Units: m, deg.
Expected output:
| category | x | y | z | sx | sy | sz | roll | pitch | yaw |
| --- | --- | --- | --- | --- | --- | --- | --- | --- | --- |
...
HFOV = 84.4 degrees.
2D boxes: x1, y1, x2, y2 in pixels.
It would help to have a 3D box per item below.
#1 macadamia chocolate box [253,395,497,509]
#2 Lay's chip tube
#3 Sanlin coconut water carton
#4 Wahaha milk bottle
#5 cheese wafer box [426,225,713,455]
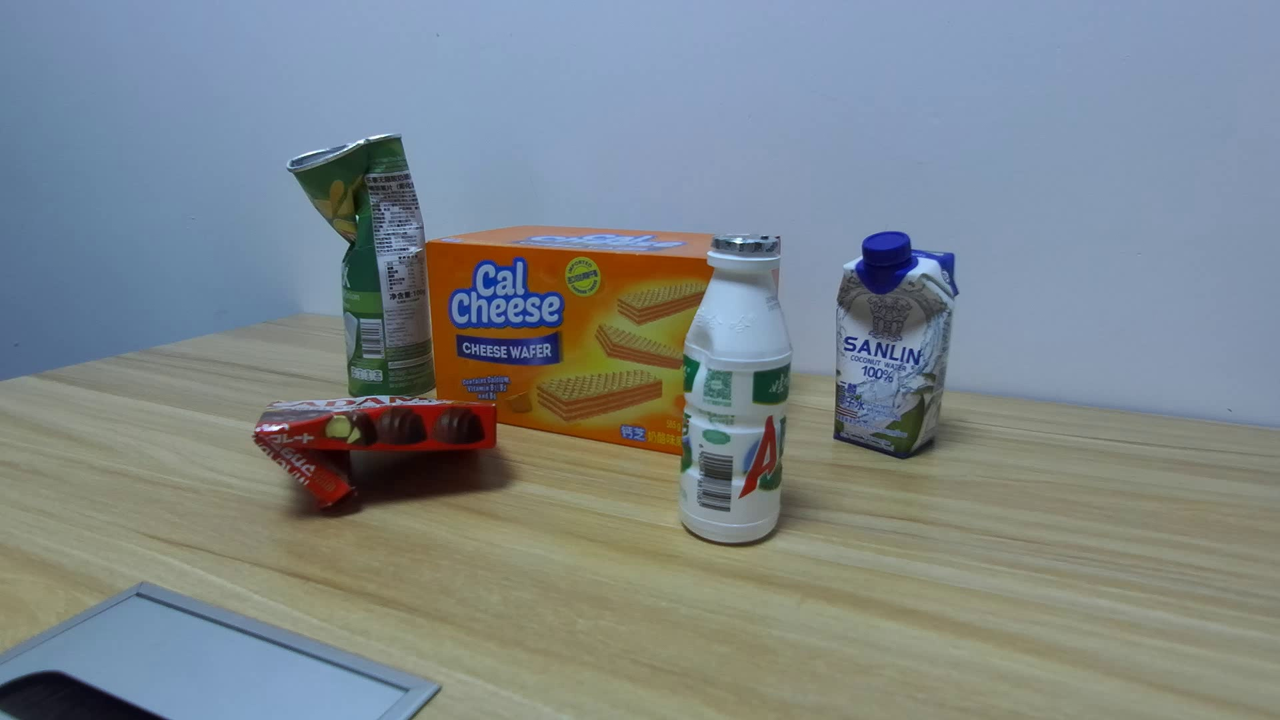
| category | x | y | z | sx | sy | sz | roll | pitch | yaw |
| --- | --- | --- | --- | --- | --- | --- | --- | --- | --- |
| macadamia chocolate box | -0.153 | 0.040 | 0.416 | 0.127 | 0.056 | 0.111 | -6 | 18 | -23 |
| Lay's chip tube | -0.210 | -0.067 | 0.546 | 0.078 | 0.199 | 0.071 | 11 | 27 | 36 |
| Sanlin coconut water carton | 0.162 | -0.012 | 0.456 | 0.077 | 0.142 | 0.058 | 14 | 25 | 42 |
| Wahaha milk bottle | 0.046 | 0.020 | 0.343 | 0.053 | 0.136 | 0.053 | 0 | 17 | 0 |
| cheese wafer box | -0.020 | -0.026 | 0.525 | 0.221 | 0.129 | 0.148 | 7 | 17 | 22 |
